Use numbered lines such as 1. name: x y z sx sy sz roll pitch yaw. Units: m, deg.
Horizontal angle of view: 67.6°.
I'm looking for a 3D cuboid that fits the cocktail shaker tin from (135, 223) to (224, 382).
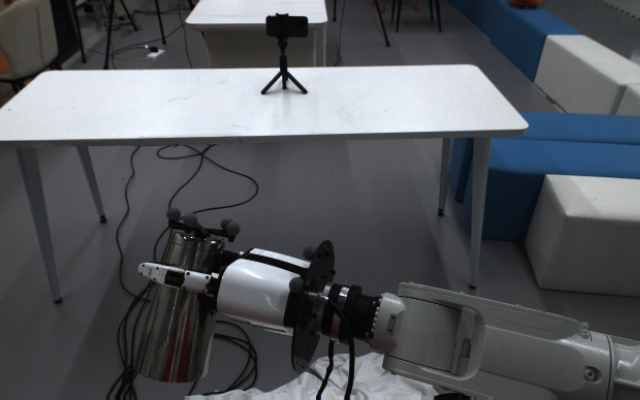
1. cocktail shaker tin: -0.167 0.127 0.612 0.093 0.170 0.093 13 2 0
